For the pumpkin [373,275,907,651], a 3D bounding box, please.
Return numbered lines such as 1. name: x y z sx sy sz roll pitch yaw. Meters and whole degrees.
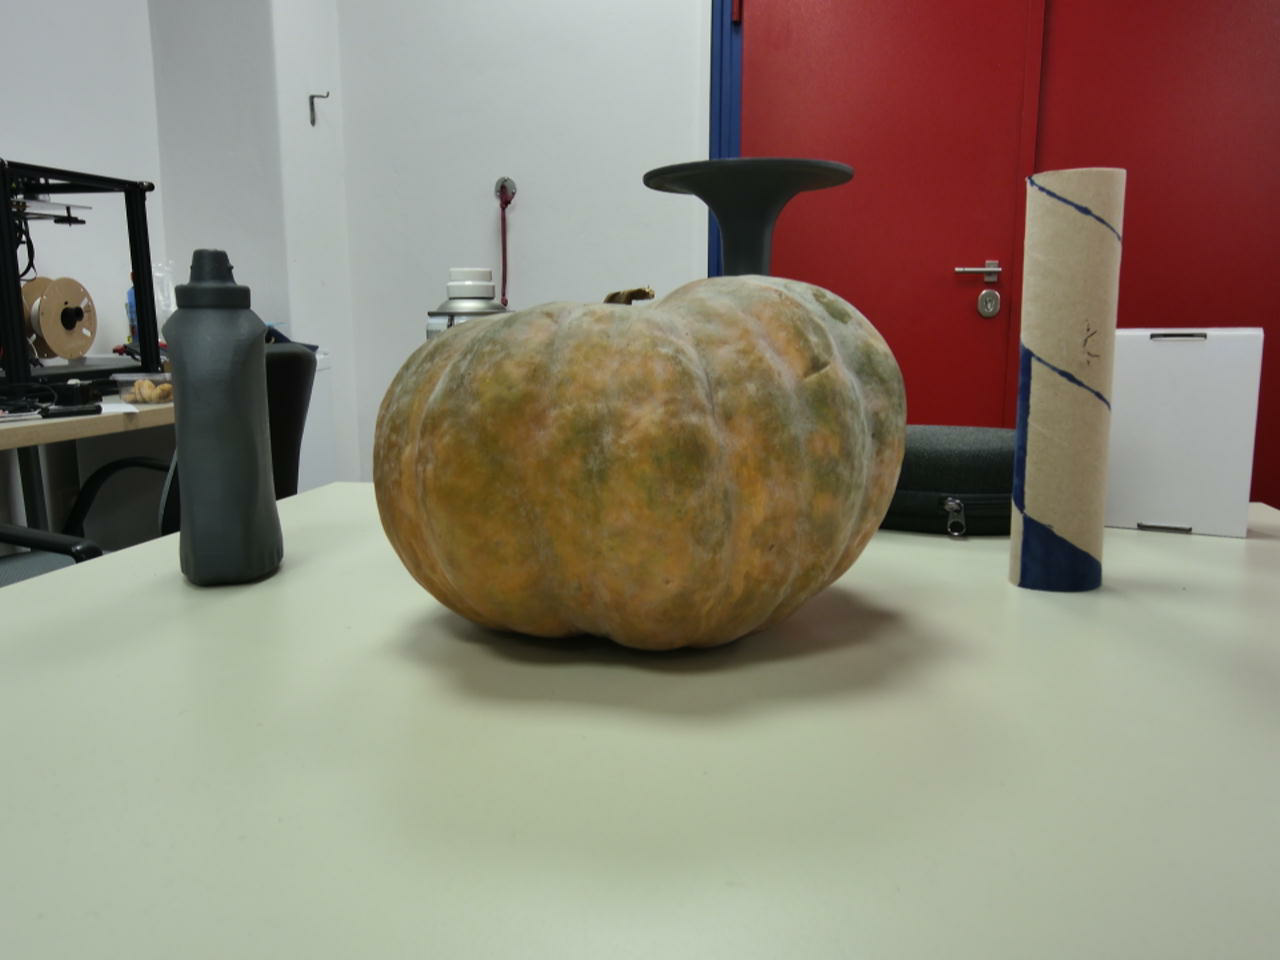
1. pumpkin: -0.006 -0.012 0.489 0.252 0.168 0.252 0 6 0
